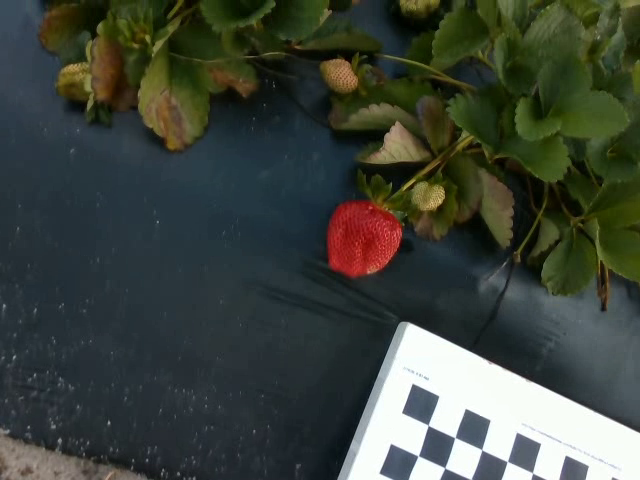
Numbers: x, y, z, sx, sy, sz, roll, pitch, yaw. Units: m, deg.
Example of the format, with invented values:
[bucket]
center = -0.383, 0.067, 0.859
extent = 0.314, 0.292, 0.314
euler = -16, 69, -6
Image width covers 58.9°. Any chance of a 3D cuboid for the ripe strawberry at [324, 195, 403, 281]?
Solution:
[ripe strawberry]
center = 0.035, -0.002, 0.460
extent = 0.067, 0.075, 0.039
euler = 29, -15, -4
